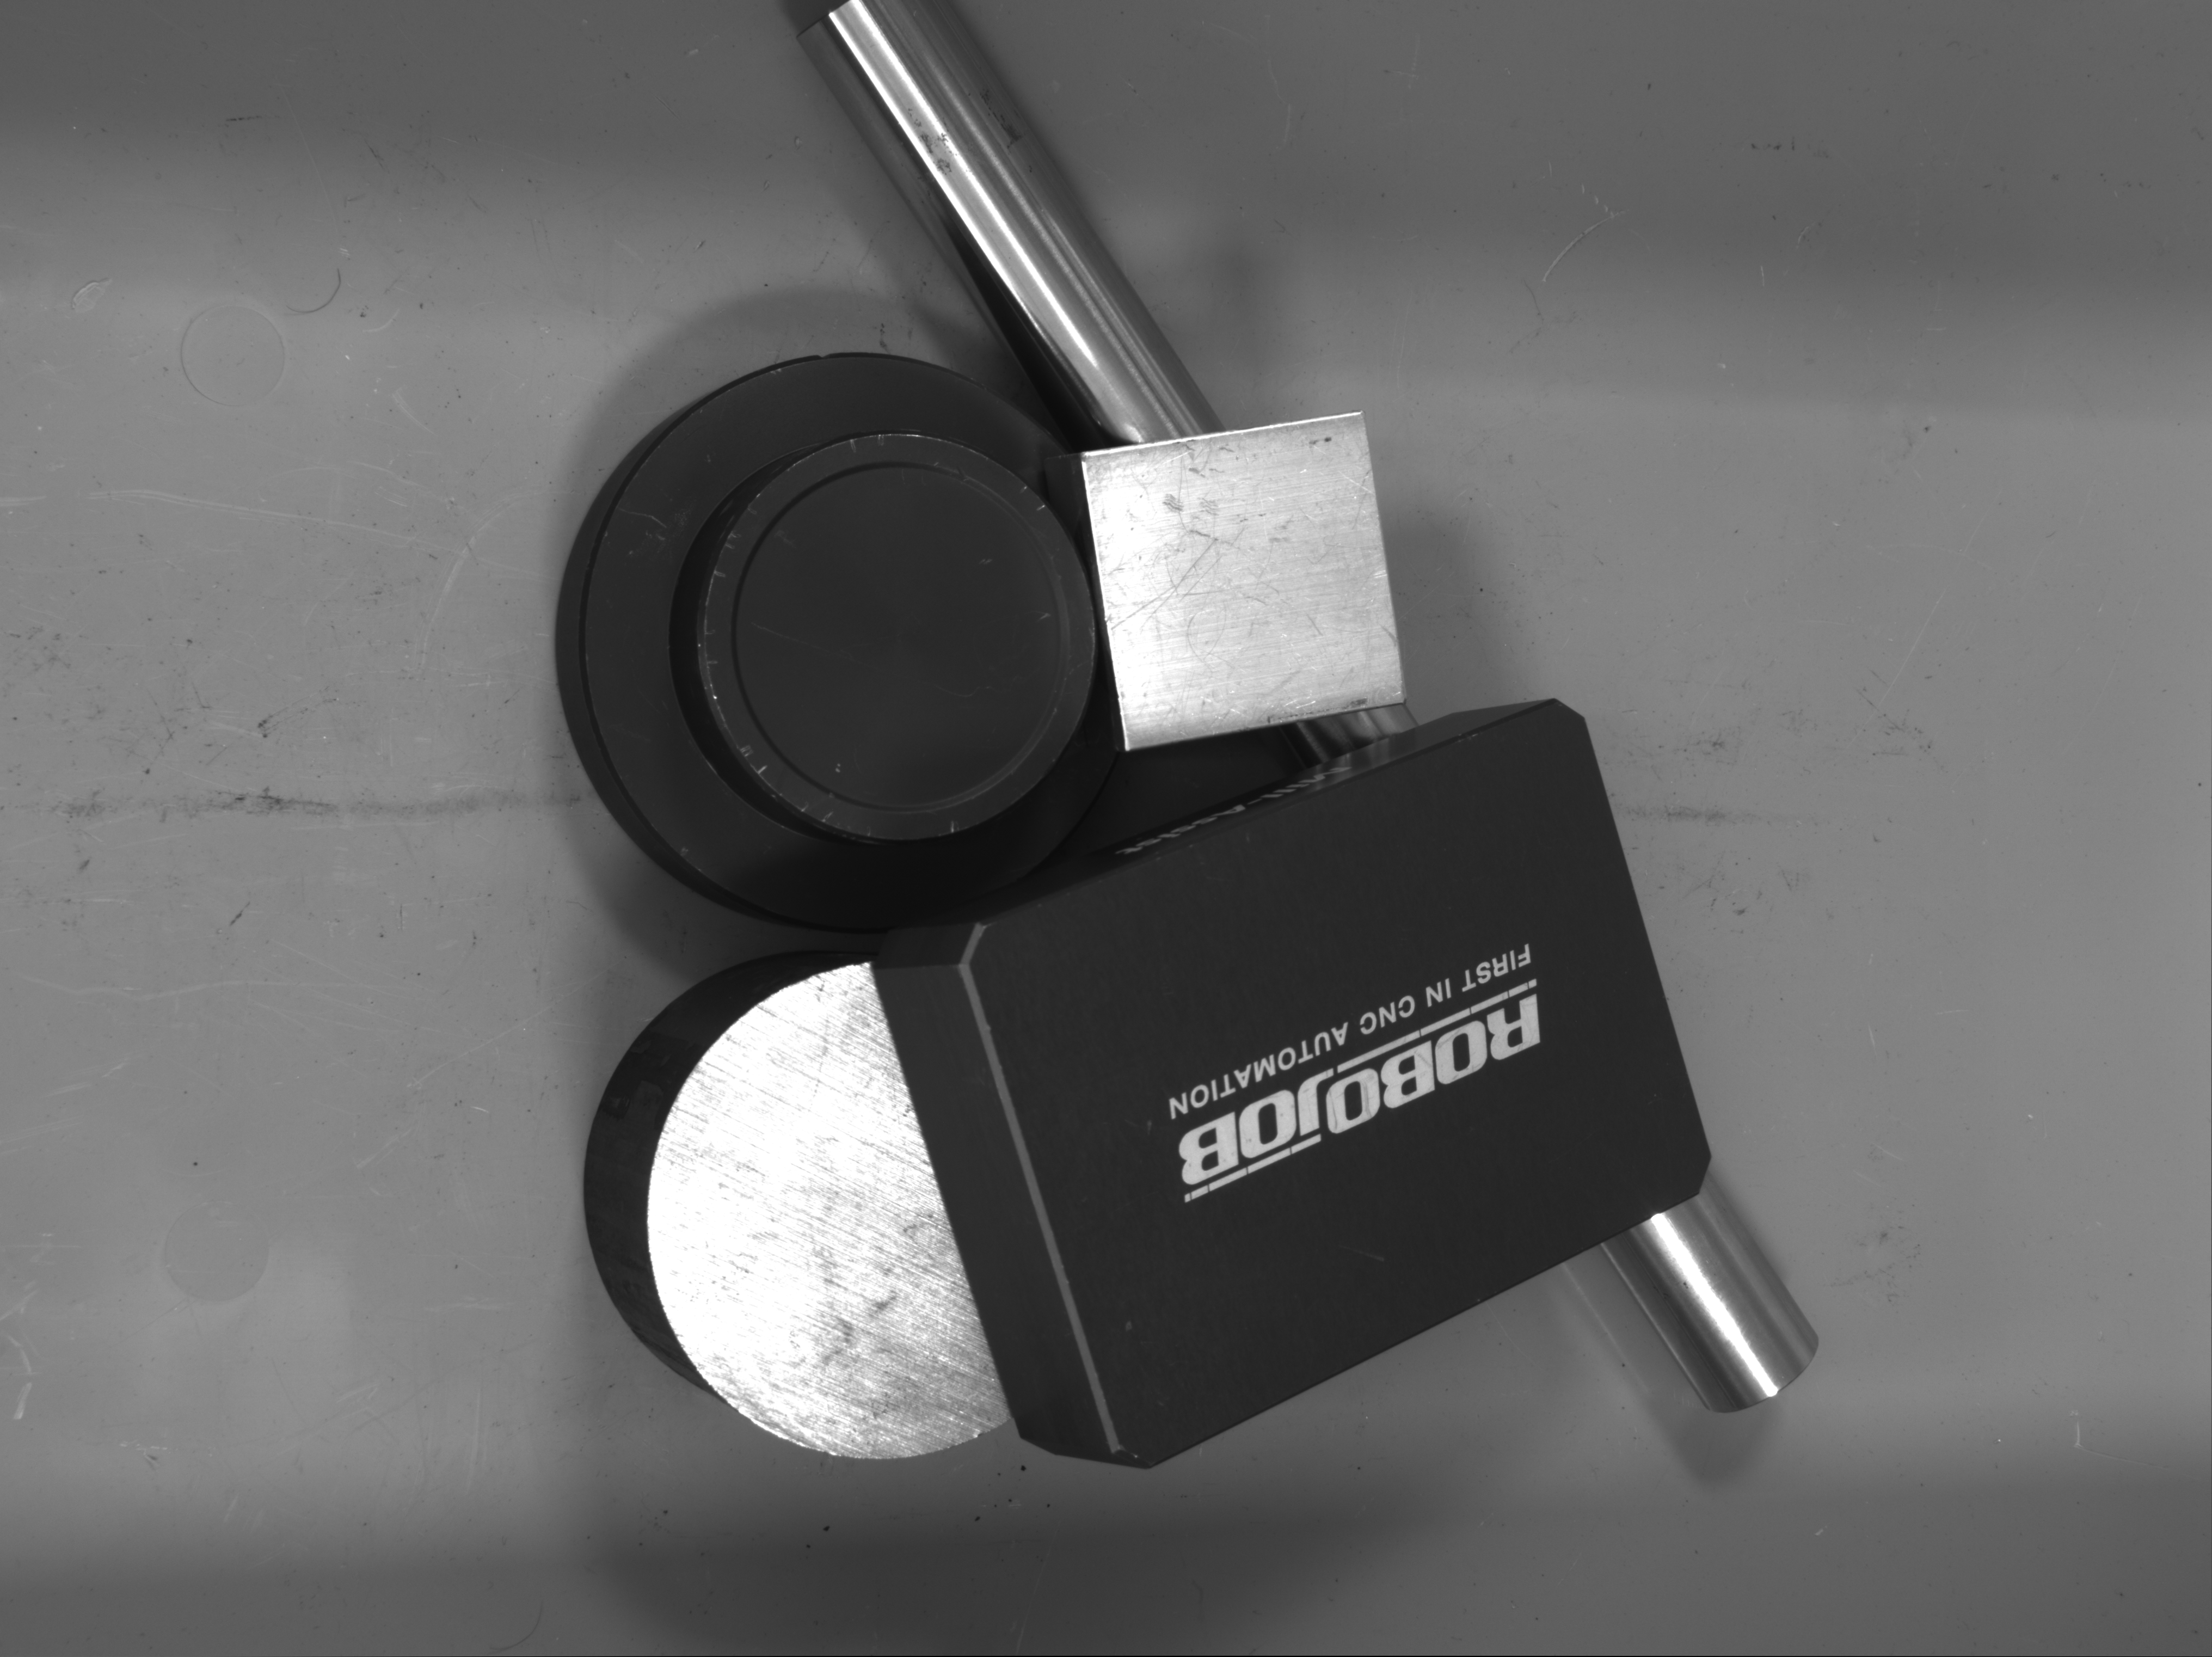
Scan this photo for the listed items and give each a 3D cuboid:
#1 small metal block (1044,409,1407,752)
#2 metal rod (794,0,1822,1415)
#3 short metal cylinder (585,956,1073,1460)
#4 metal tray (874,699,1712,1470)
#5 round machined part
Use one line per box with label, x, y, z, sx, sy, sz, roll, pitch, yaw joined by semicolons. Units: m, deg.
small metal block;0.020;-0.042;0.624;0.050;0.025;0.050;-10;96;-14
metal rod;0.040;-0.020;0.657;0.025;0.025;0.300;-38;102;-16
short metal cylinder;-0.042;0.061;0.613;0.080;0.050;0.080;0;90;-20
metal tray;0.034;0.040;0.611;0.130;0.030;0.090;-21;97;-31
round machined part;-0.040;-0.032;0.618;0.098;0.042;0.098;0;90;-19
